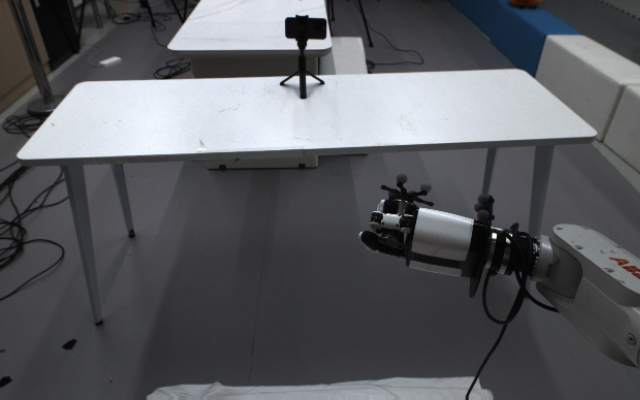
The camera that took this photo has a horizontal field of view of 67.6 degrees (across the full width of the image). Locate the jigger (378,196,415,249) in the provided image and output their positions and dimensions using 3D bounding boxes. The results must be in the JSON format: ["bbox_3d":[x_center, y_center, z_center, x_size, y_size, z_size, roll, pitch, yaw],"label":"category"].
[{"bbox_3d":[0.123,0.035,0.768,0.043,0.043,0.071,16,70,19],"label":"jigger"}]
